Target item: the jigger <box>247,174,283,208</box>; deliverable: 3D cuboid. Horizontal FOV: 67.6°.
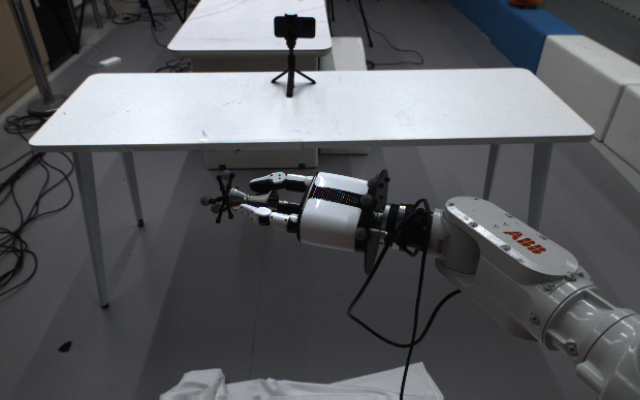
[{"bbox_3d":[-0.097,-0.005,0.767,0.071,0.043,0.043,6,34,18],"label":"jigger"}]
